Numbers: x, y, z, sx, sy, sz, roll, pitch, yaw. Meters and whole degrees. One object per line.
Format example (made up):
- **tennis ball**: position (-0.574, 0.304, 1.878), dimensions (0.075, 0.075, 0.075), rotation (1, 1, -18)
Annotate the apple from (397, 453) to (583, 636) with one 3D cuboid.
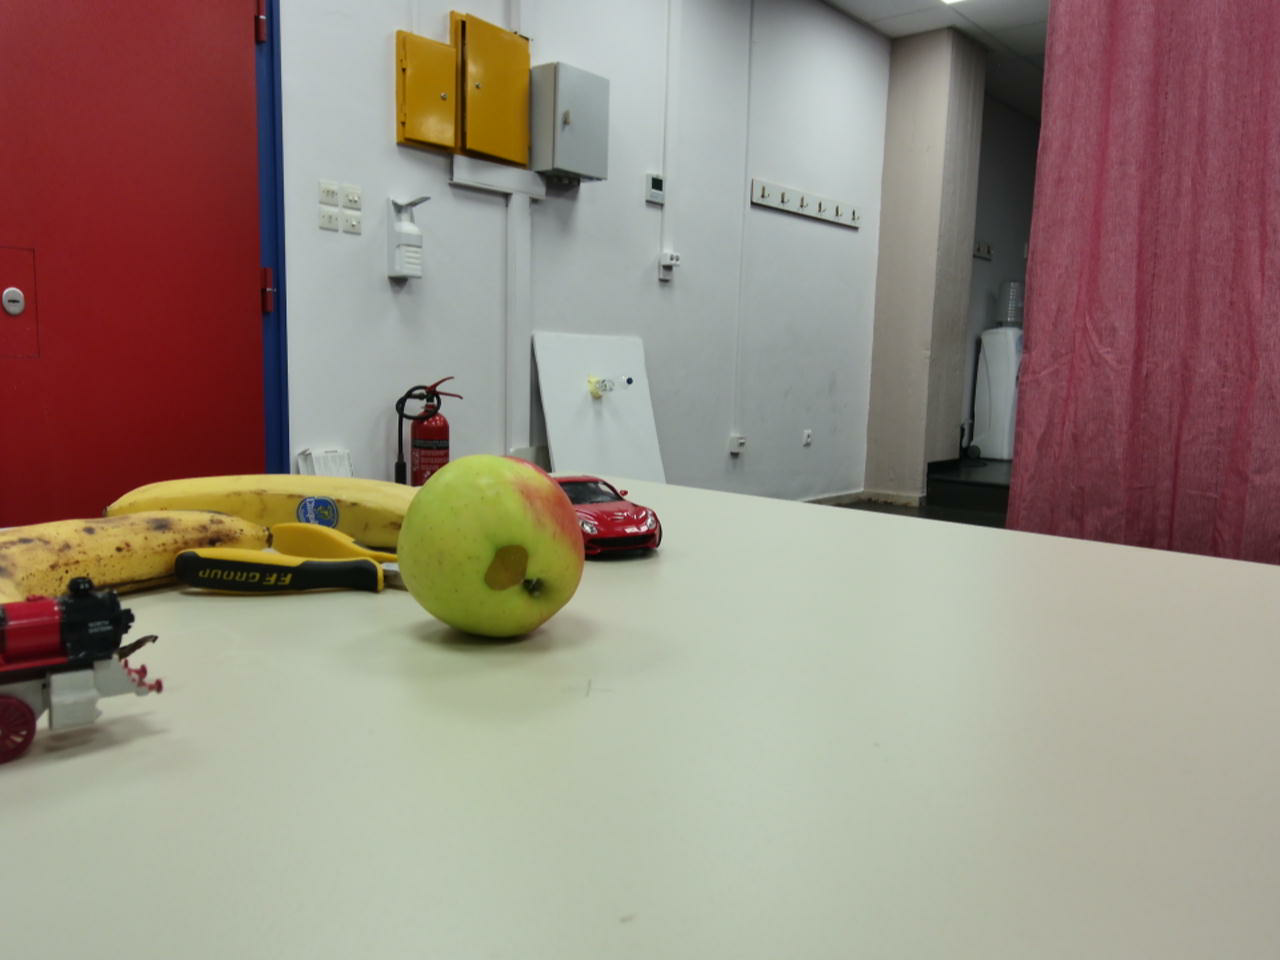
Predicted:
- **apple**: position (-0.061, 0.026, 0.419), dimensions (0.075, 0.074, 0.075), rotation (2, 5, 20)
